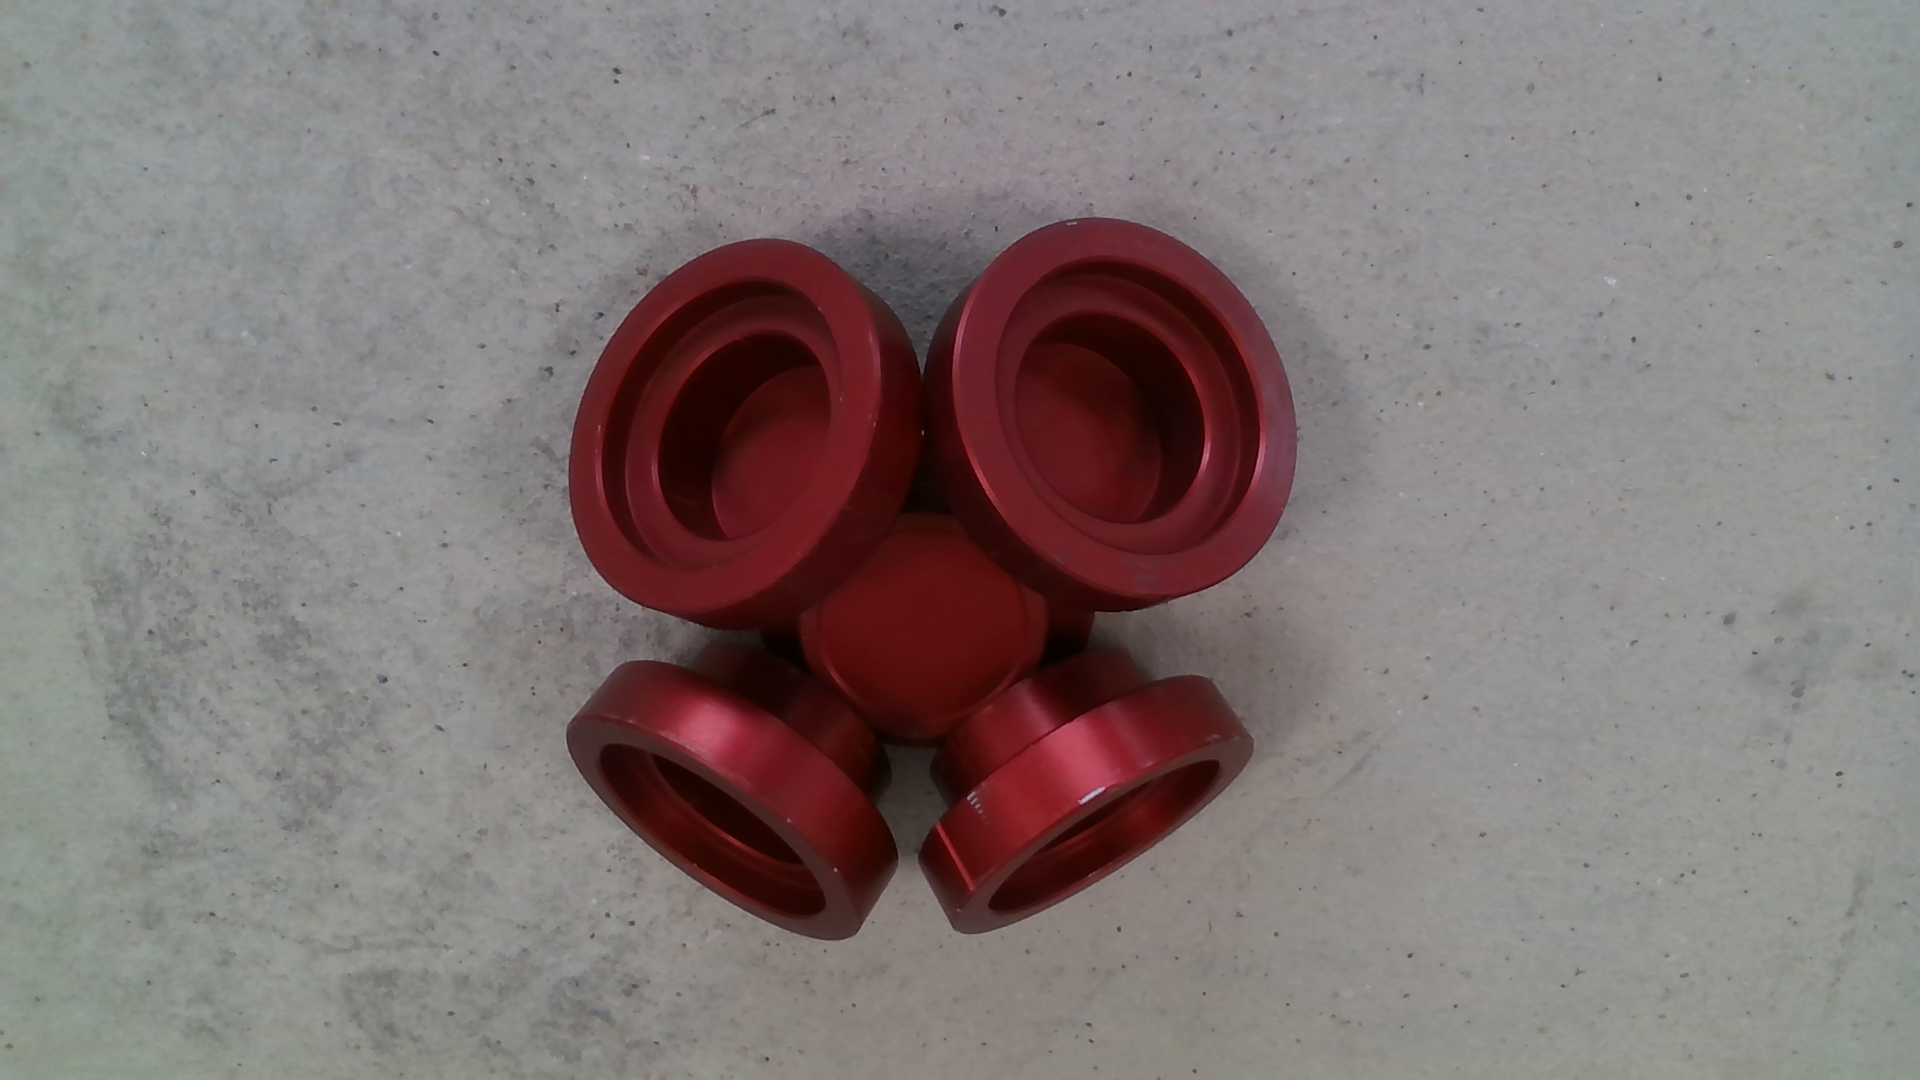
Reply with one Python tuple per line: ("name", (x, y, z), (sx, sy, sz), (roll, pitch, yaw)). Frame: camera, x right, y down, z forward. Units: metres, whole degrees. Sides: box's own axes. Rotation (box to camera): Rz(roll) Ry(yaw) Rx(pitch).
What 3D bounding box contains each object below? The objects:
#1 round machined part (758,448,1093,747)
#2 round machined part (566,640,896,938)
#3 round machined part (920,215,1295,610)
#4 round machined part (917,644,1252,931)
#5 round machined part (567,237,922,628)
("round machined part", (-0.010, 0.016, 0.390), (0.098, 0.042, 0.098), (-1, 111, -2))
("round machined part", (-0.060, 0.066, 0.392), (0.098, 0.042, 0.098), (24, 146, 17))
("round machined part", (0.034, -0.030, 0.357), (0.098, 0.042, 0.098), (6, 74, -24))
("round machined part", (0.030, 0.066, 0.391), (0.098, 0.098, 0.042), (-38, 65, 13))
("round machined part", (-0.051, -0.024, 0.357), (0.098, 0.098, 0.042), (-42, 148, 14))
